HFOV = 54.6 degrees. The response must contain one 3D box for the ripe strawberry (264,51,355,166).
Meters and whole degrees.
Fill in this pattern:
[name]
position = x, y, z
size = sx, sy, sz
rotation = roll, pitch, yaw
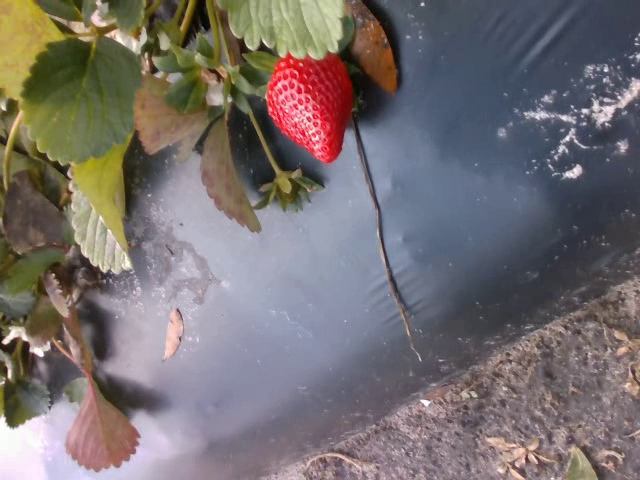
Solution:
[ripe strawberry]
position = -0.002, -0.056, 0.283
size = 0.049, 0.053, 0.050
rotation = 11, -38, -39
